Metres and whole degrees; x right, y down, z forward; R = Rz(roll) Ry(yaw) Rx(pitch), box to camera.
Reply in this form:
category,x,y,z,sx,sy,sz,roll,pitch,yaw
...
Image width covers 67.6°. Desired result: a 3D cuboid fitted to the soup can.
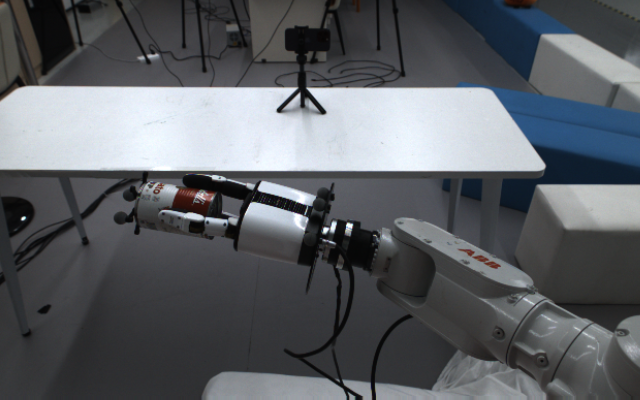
category,x,y,z,sx,sy,sz,roll,pitch,yaw
soup can,-0.193,0.016,0.672,0.101,0.067,0.067,9,35,2
